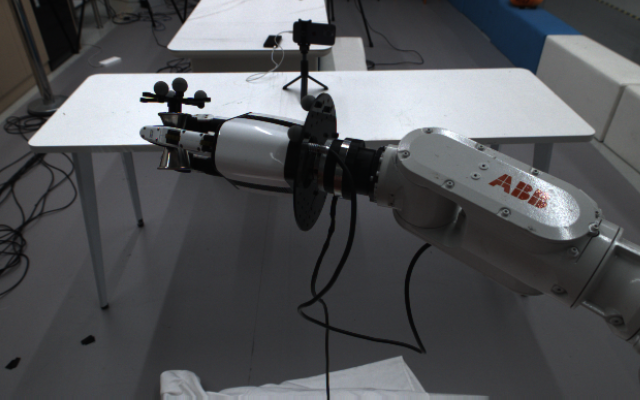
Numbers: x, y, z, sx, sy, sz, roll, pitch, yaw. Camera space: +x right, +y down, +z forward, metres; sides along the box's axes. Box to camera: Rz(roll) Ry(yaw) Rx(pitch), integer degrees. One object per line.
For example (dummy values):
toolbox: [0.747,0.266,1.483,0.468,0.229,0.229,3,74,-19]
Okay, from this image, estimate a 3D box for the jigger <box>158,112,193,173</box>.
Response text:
jigger: [-0.177,-0.072,0.599,0.043,0.071,0.043,0,3,0]
